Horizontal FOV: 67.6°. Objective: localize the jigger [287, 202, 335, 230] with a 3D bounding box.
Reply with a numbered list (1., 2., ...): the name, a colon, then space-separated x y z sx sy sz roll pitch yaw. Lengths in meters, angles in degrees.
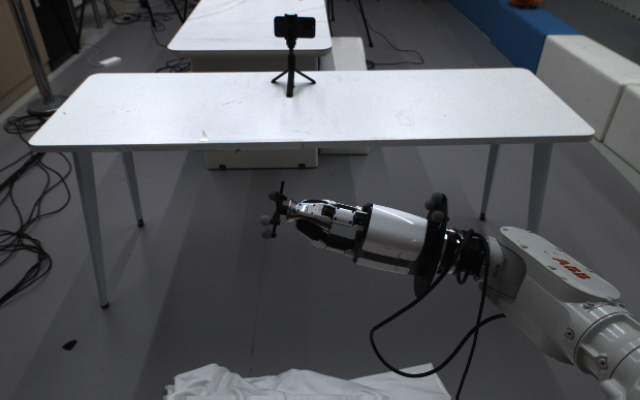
1. jigger: -0.008 0.019 0.734 0.071 0.043 0.043 11 35 3
